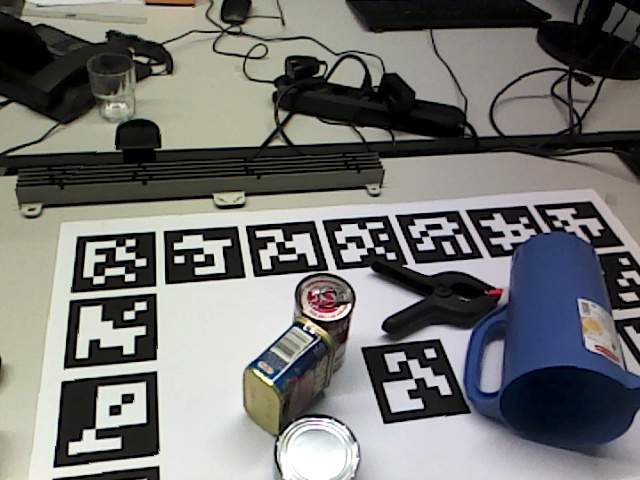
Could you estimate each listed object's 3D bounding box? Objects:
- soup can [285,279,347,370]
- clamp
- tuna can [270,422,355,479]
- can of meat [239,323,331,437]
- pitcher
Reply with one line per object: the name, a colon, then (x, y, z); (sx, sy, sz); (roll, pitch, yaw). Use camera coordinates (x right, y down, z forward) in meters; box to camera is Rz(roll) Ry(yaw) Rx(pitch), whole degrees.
soup can: (-0.007, 0.103, 0.720); (0.068, 0.102, 0.068); (2, 46, -2)
clamp: (0.131, 0.081, 0.818); (0.164, 0.036, 0.122); (0, 40, -12)
tuna can: (-0.009, 0.233, 0.632); (0.085, 0.033, 0.086); (3, 46, -4)
can of meat: (-0.039, 0.152, 0.660); (0.058, 0.101, 0.083); (36, 55, 25)
pitcher: (0.268, 0.107, 0.720); (0.189, 0.133, 0.242); (-6, 34, 19)
